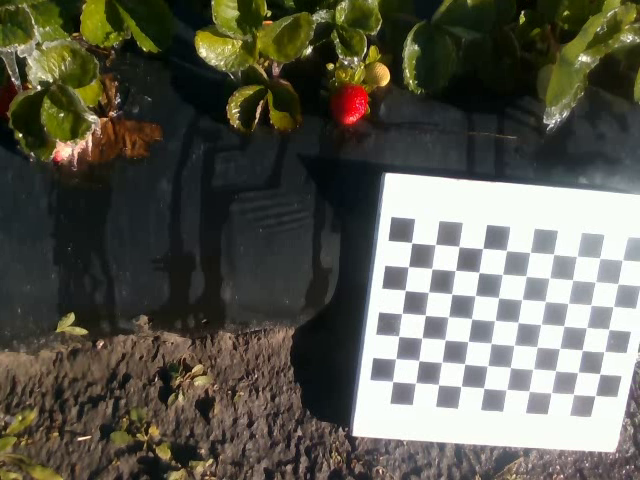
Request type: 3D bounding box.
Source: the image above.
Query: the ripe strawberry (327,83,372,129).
[{"bbox_3d":[0.022,-0.096,0.474,0.039,0.040,0.039,-3,35,7],"label":"ripe strawberry"}]
